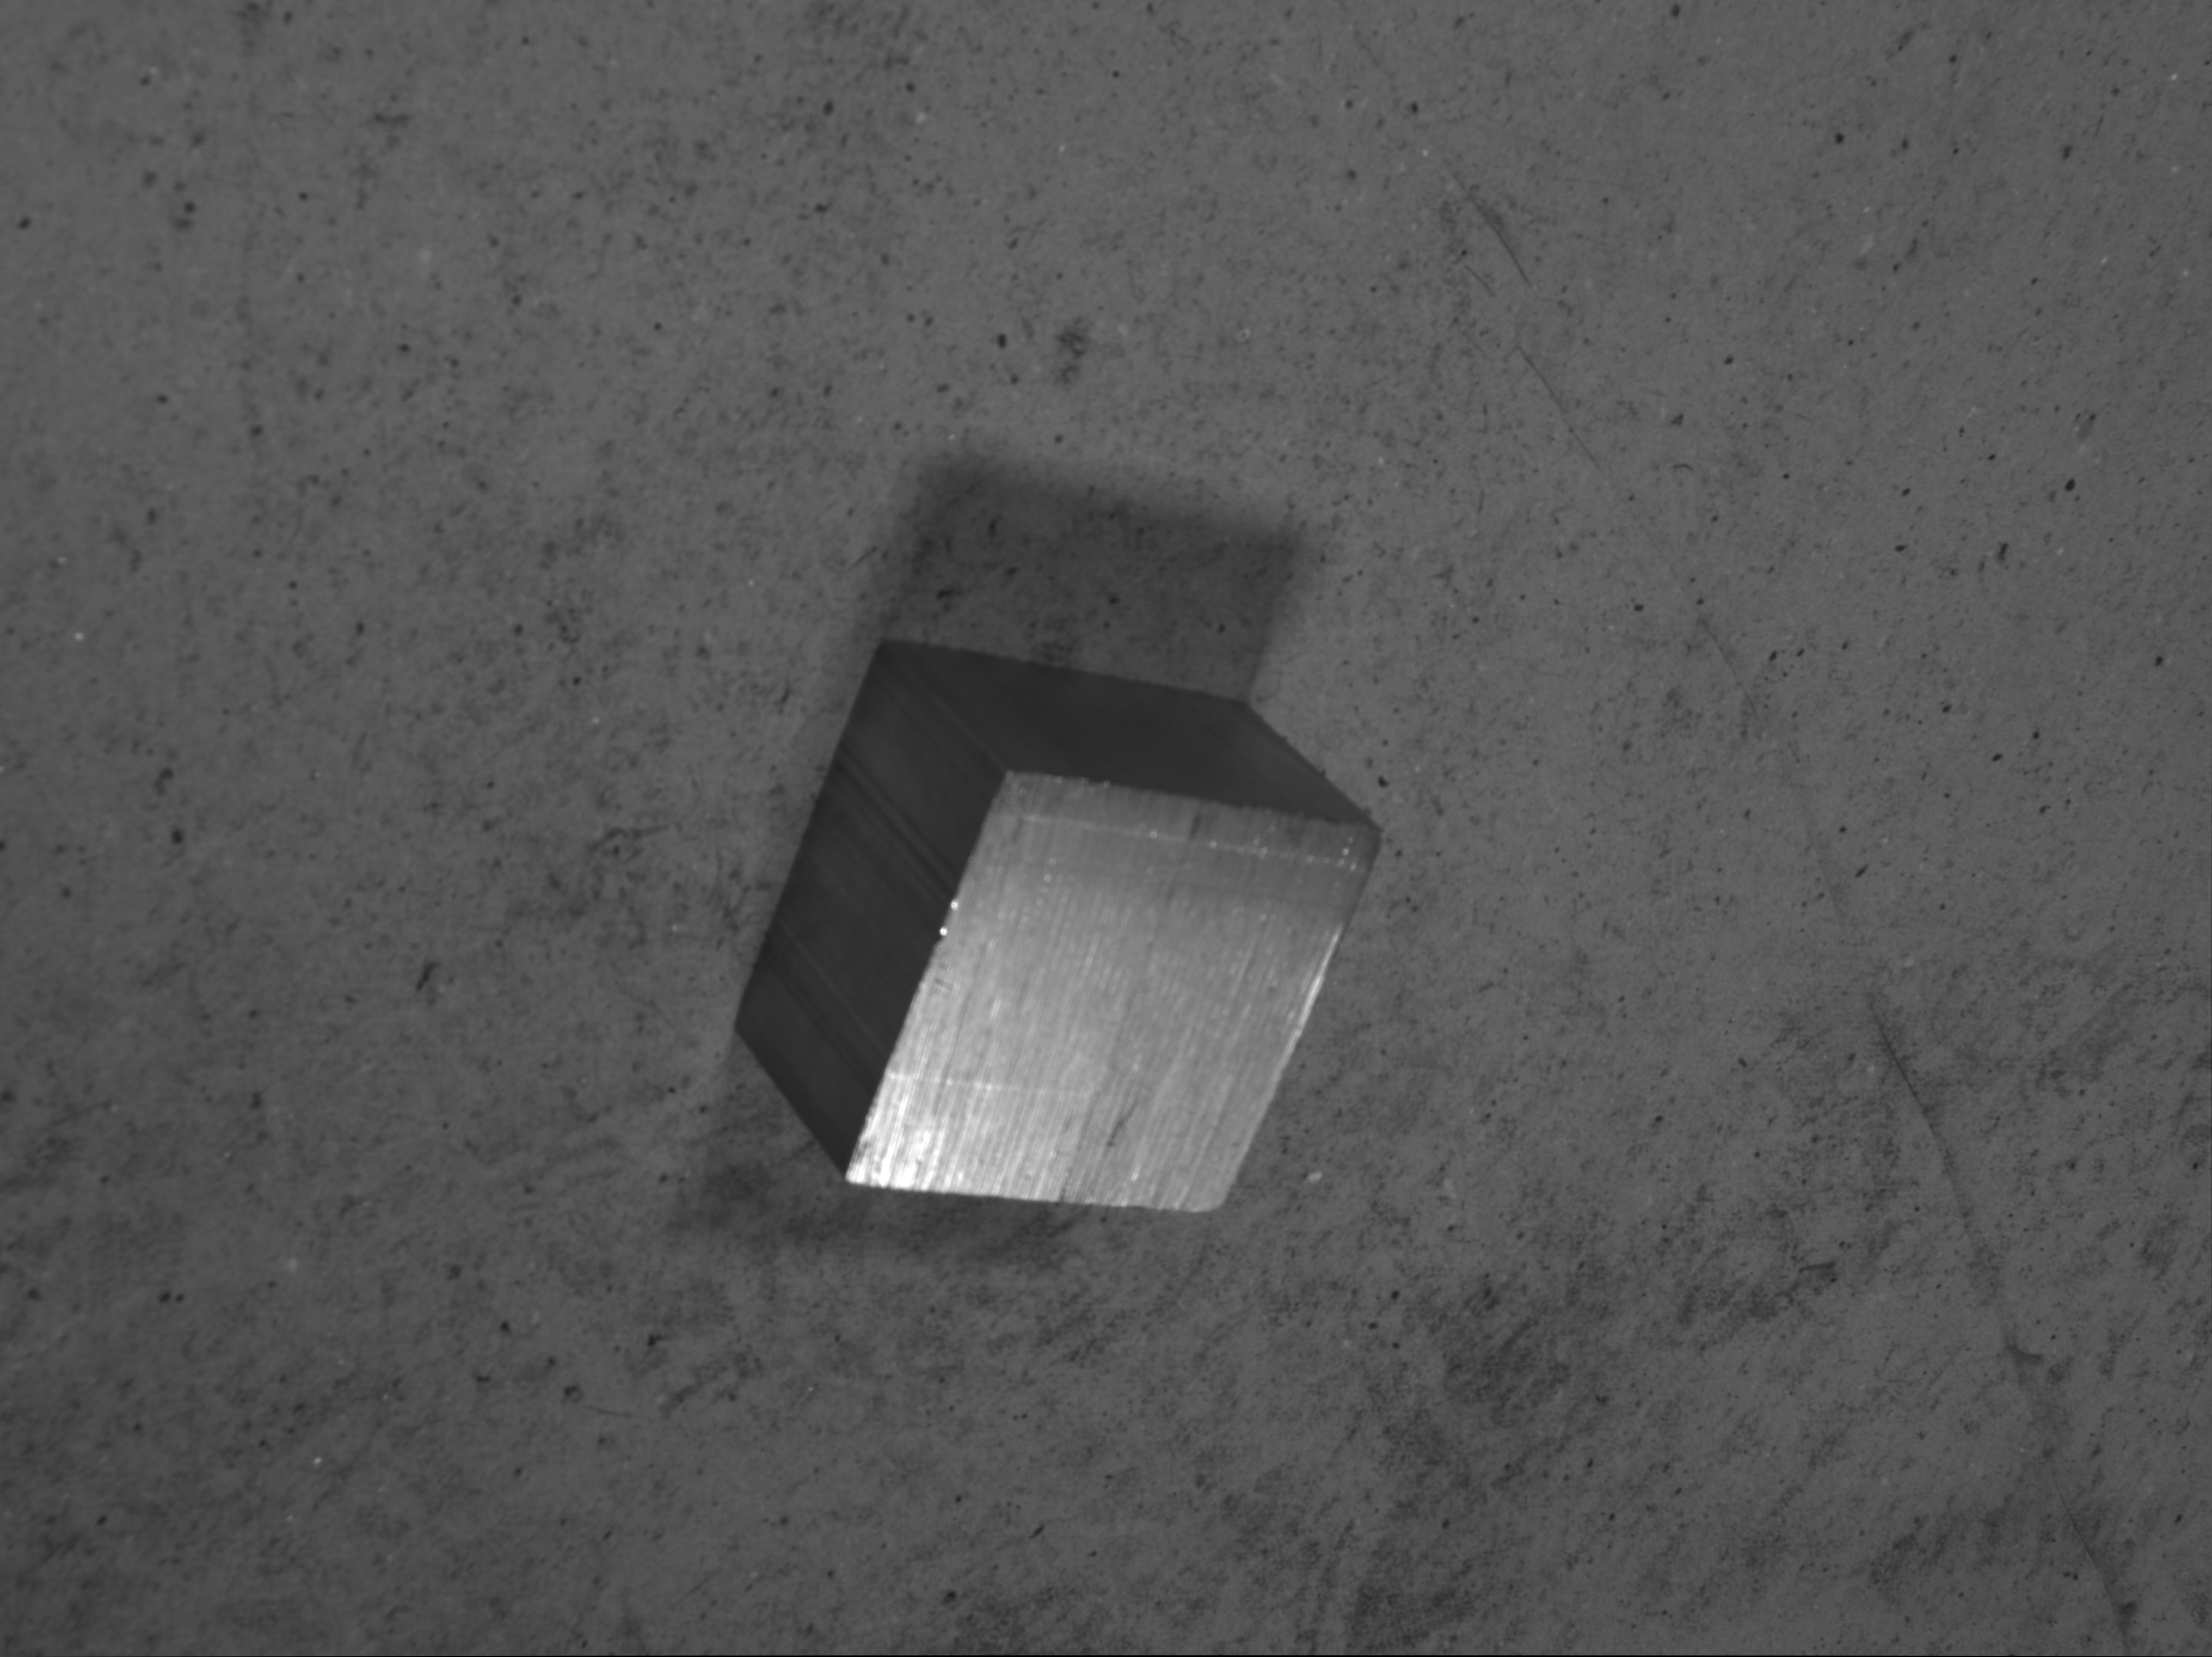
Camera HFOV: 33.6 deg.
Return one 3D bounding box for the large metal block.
[{"bbox_3d":[-0.002,0.019,0.645,0.080,0.050,0.080,8,114,-34],"label":"large metal block"}]
